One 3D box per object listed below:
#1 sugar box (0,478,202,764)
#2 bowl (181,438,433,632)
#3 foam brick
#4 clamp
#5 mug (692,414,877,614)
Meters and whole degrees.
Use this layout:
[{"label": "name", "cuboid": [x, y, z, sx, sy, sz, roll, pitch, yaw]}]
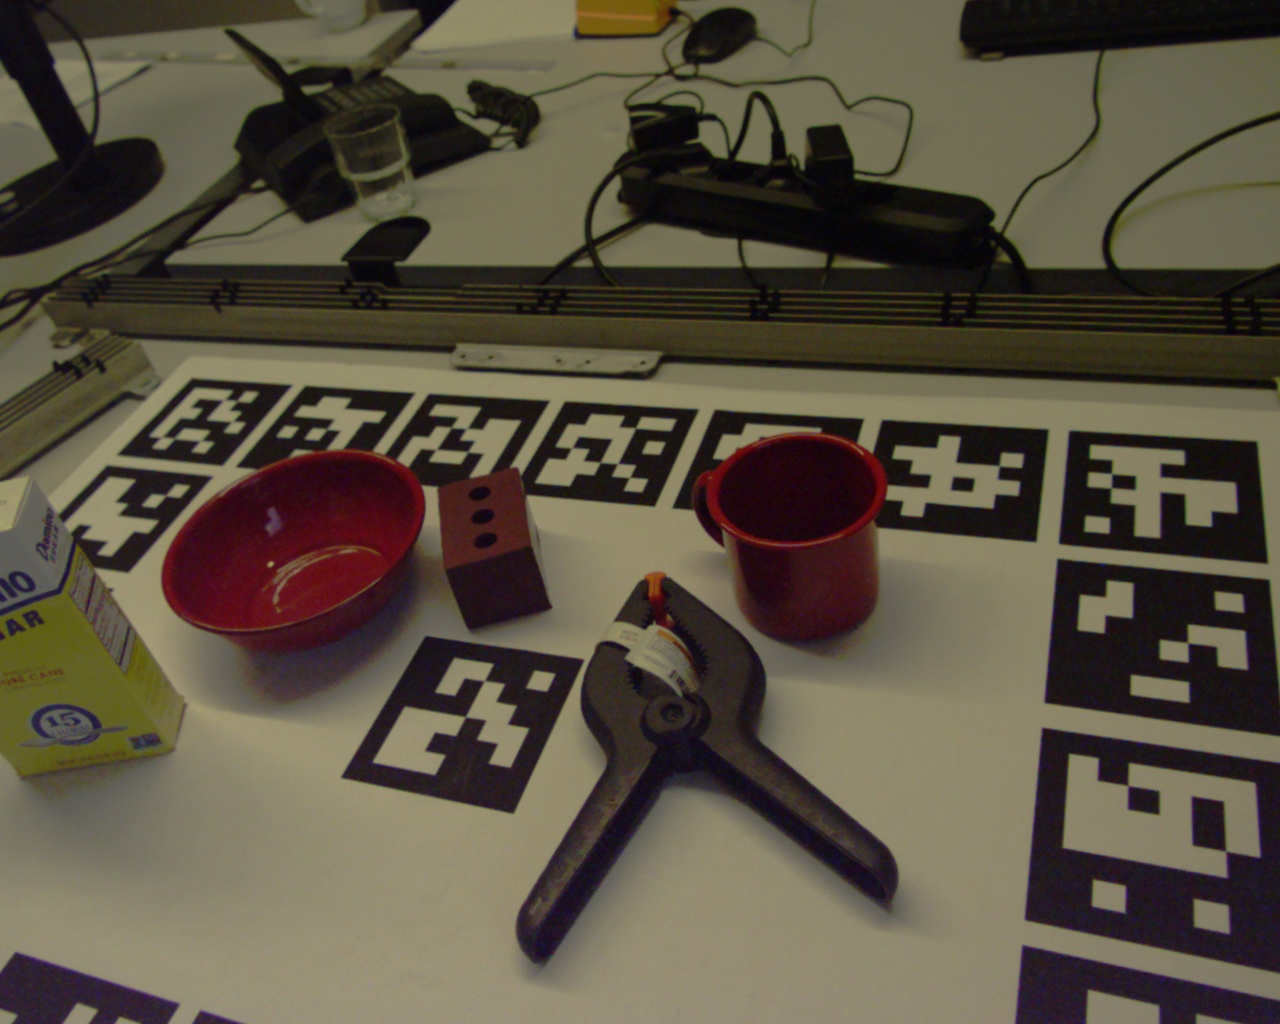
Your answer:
[{"label": "sugar box", "cuboid": [-0.322, 0.066, 0.628, 0.093, 0.175, 0.045, -12, 44, 0]}, {"label": "bowl", "cuboid": [-0.205, 0.024, 0.731, 0.162, 0.055, 0.162, -7, 43, 6]}, {"label": "foam brick", "cuboid": [-0.085, 0.020, 0.715, 0.053, 0.051, 0.078, -15, 43, 0]}, {"label": "clamp", "cuboid": [0.015, 0.098, 0.598, 0.166, 0.036, 0.204, -13, 43, 4]}, {"label": "mug", "cuboid": [0.079, -0.001, 0.660, 0.119, 0.081, 0.092, 29, 57, 33]}]
